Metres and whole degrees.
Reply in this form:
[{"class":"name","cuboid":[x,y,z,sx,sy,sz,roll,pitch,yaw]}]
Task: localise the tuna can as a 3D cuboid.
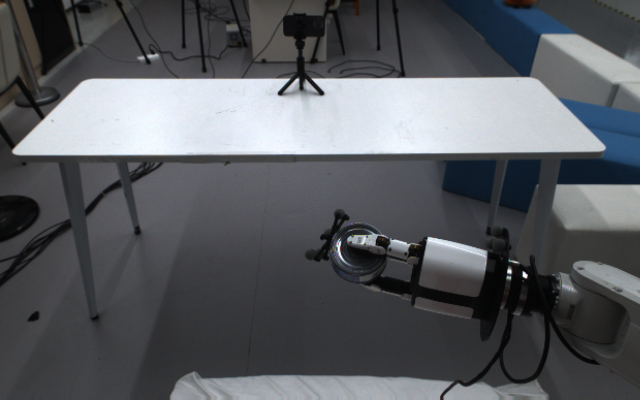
[{"class":"tuna can","cuboid":[0.059,0.076,0.714,0.085,0.034,0.085,-1,61,1]}]
